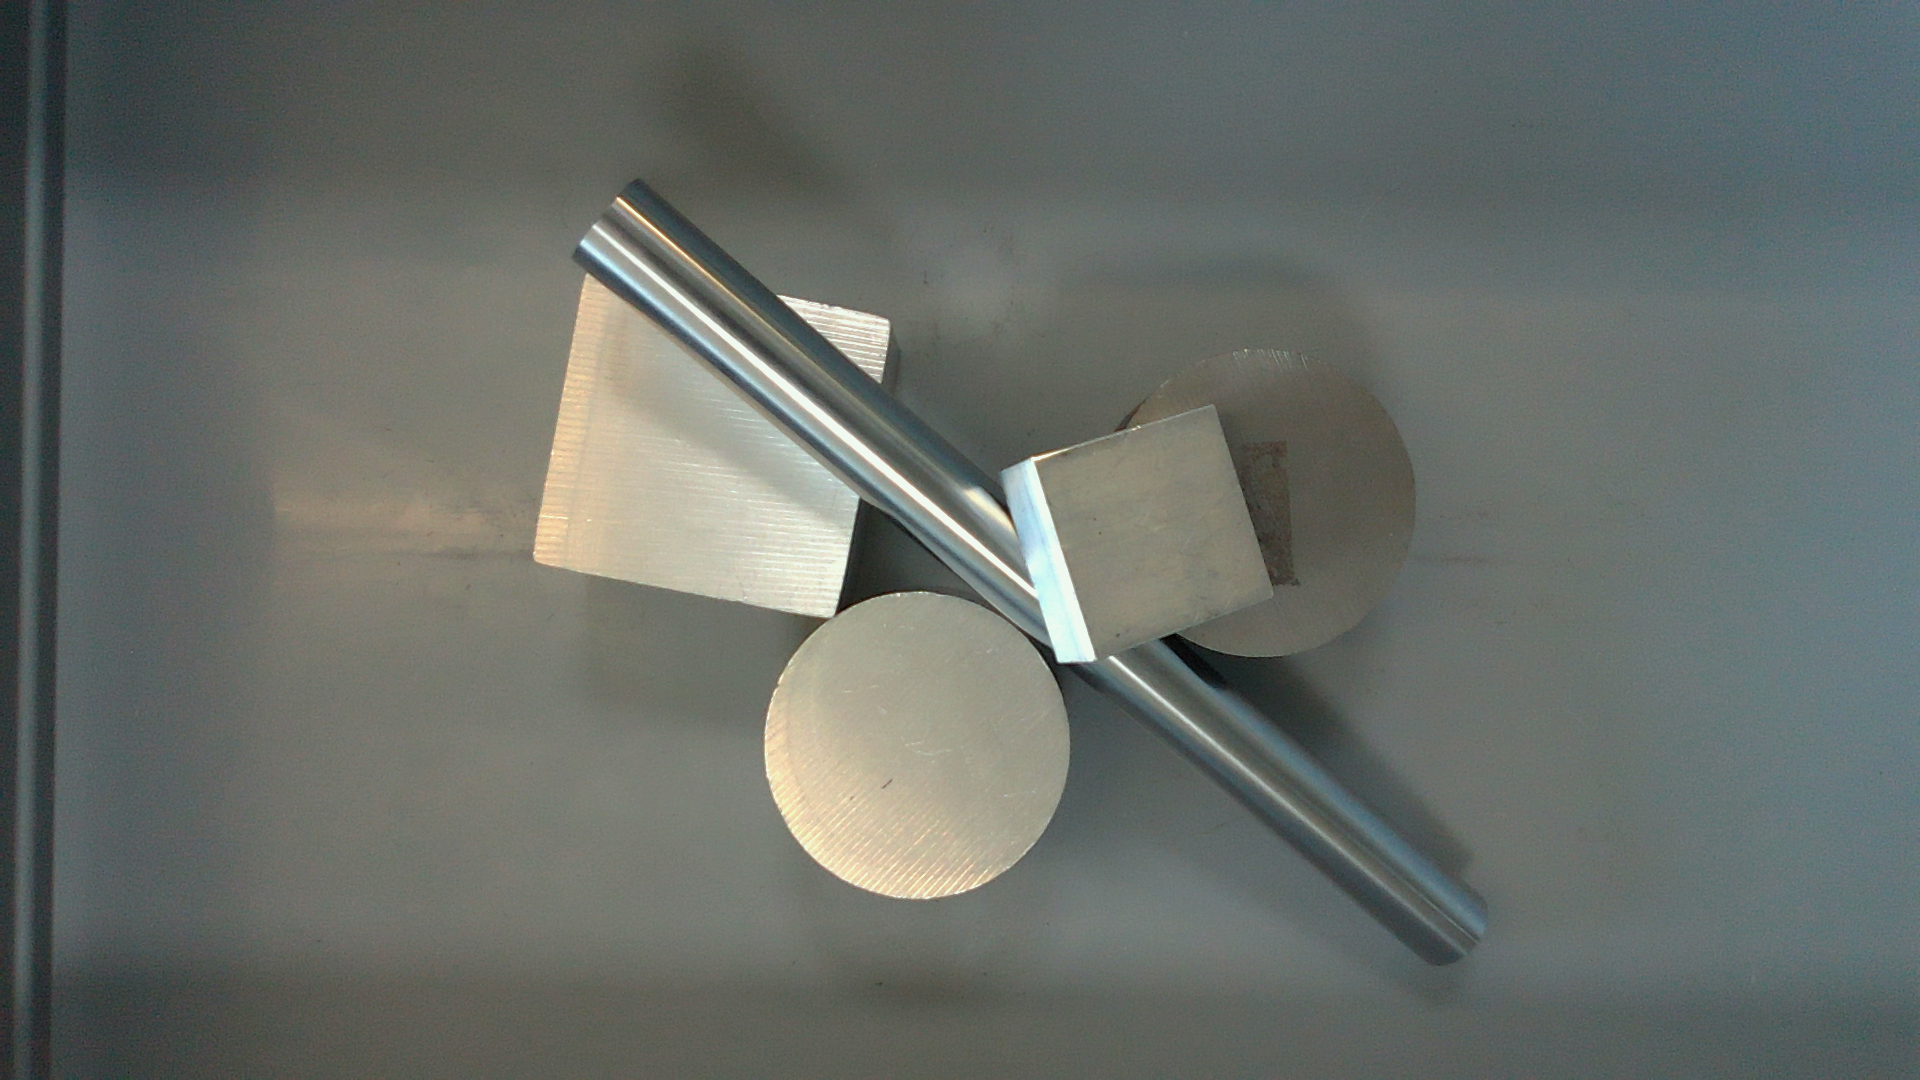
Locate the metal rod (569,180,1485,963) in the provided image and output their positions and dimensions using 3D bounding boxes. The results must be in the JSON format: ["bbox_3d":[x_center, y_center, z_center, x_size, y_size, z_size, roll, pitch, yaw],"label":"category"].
[{"bbox_3d":[0.029,0.018,0.359,0.300,0.025,0.025,40,90,-14],"label":"metal rod"}]

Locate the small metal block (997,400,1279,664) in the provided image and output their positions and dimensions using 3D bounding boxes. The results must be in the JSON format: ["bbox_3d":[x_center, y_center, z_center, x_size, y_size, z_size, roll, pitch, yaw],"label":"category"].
[{"bbox_3d":[0.043,-0.002,0.337,0.050,0.025,0.050,-18,90,-18],"label":"small metal block"}]

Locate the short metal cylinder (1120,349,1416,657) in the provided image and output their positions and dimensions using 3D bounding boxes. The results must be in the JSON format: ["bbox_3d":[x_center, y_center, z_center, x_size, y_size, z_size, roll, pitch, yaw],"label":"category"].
[{"bbox_3d":[0.079,-0.010,0.382,0.080,0.050,0.080,0,90,0],"label":"short metal cylinder"}]

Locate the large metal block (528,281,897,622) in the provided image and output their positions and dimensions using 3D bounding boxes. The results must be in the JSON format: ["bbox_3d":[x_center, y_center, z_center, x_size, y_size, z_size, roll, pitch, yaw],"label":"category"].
[{"bbox_3d":[-0.064,-0.026,0.379,0.080,0.050,0.080,11,90,0],"label":"large metal block"}]

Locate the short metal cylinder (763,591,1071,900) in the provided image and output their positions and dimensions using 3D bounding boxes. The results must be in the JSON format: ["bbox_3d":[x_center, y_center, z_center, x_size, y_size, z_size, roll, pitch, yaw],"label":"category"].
[{"bbox_3d":[-0.011,0.053,0.382,0.080,0.050,0.080,0,90,0],"label":"short metal cylinder"}]
